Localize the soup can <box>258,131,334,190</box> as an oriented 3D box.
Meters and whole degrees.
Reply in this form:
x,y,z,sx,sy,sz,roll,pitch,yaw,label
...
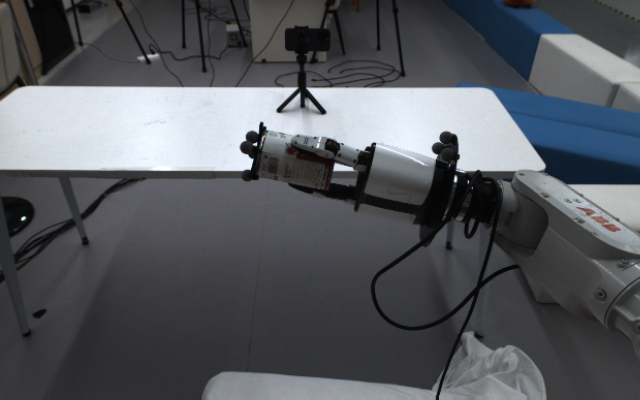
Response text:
x,y,z,sx,sy,sz,roll,pitch,yaw,label
-0.030,-0.054,0.671,0.101,0.067,0.067,12,35,-1,soup can
